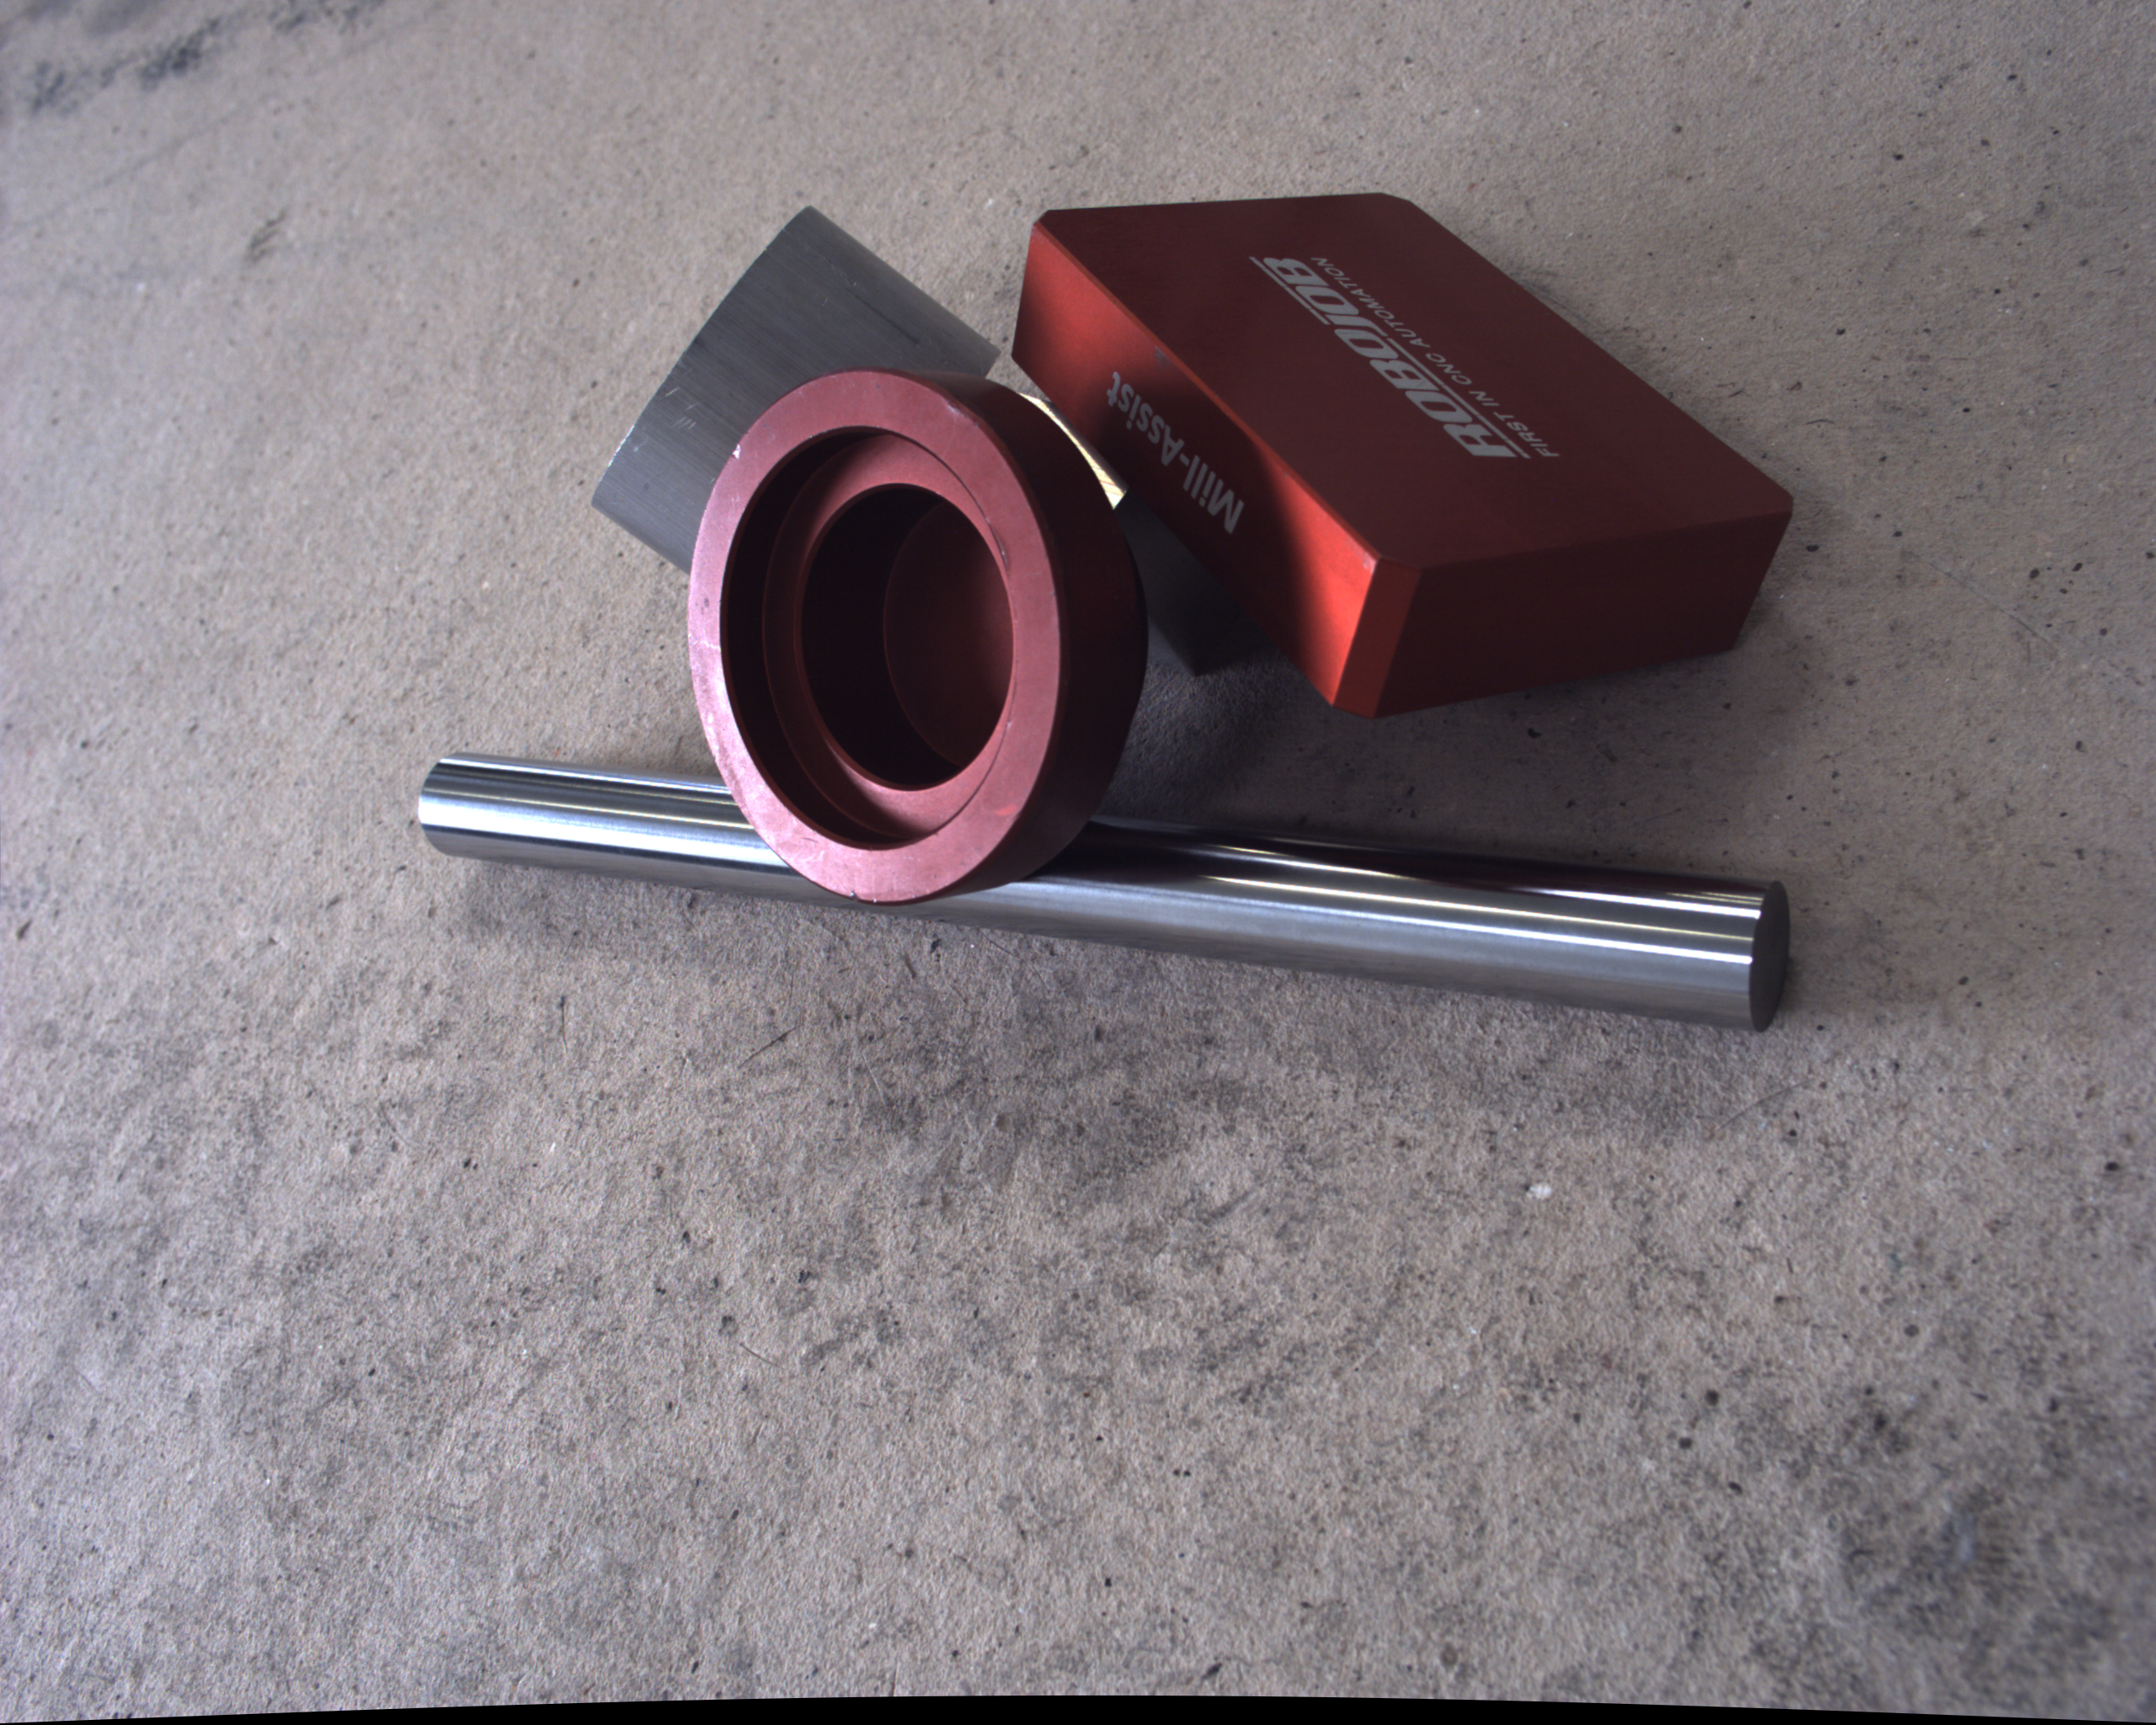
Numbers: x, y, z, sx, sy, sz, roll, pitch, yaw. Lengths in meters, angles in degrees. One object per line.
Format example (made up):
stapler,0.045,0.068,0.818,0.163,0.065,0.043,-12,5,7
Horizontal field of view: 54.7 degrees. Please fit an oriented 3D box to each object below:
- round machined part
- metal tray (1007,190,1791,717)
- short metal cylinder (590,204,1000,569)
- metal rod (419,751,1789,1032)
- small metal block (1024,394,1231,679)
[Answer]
round machined part,-0.026,-0.043,0.394,0.098,0.042,0.097,7,101,39
metal tray,0.055,-0.083,0.391,0.091,0.030,0.130,-12,46,-27
short metal cylinder,-0.061,-0.095,0.454,0.080,0.050,0.080,-51,11,15
metal rod,-0.017,0.001,0.414,0.300,0.025,0.025,6,65,31
small metal block,0.001,-0.069,0.429,0.050,0.050,0.025,26,76,37
